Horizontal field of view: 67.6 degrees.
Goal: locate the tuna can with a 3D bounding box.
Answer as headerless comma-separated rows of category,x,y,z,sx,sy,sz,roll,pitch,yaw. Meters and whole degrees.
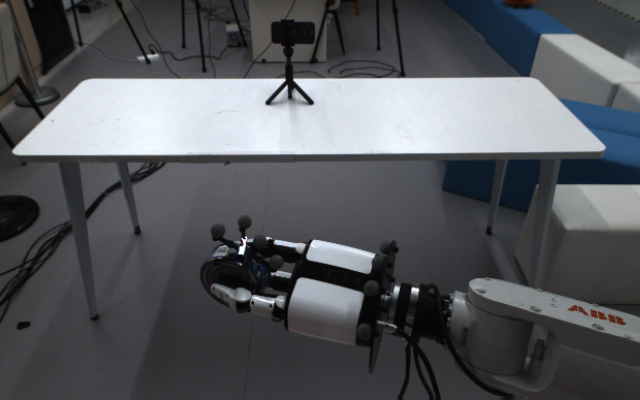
tuna can,-0.106,0.097,0.616,0.085,0.085,0.034,12,35,14
